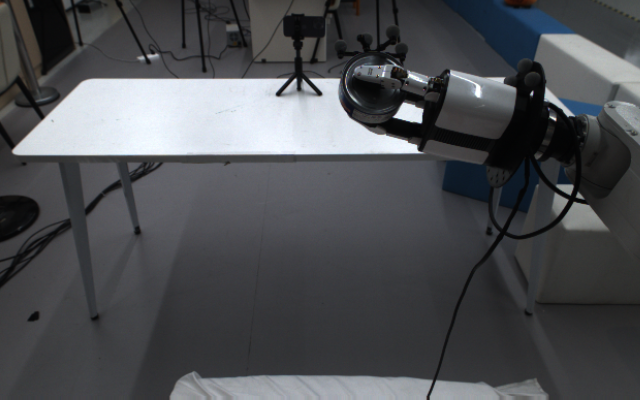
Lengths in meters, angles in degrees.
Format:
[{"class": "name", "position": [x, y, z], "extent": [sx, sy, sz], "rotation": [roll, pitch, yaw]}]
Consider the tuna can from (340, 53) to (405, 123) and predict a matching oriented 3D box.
[{"class": "tuna can", "position": [0.066, -0.142, 0.610], "extent": [0.085, 0.034, 0.085], "rotation": [1, 72, -4]}]
